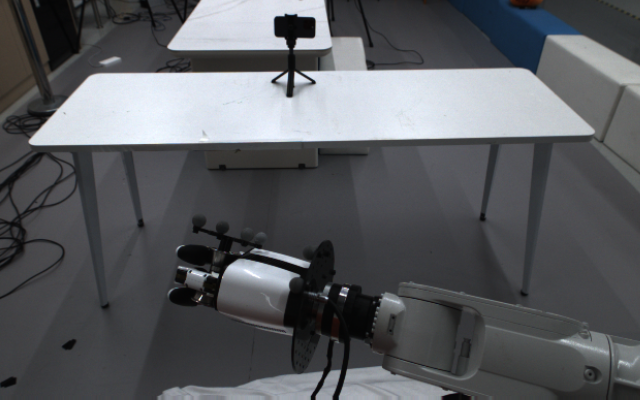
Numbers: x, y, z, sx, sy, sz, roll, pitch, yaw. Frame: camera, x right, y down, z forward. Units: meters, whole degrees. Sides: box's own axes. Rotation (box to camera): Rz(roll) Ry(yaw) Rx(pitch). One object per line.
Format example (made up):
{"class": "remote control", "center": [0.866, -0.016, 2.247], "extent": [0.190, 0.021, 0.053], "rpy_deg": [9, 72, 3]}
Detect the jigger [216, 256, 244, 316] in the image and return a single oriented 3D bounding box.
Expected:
{"class": "jigger", "center": [-0.127, 0.097, 0.609], "extent": [0.043, 0.071, 0.043], "rpy_deg": [15, -7, 2]}
